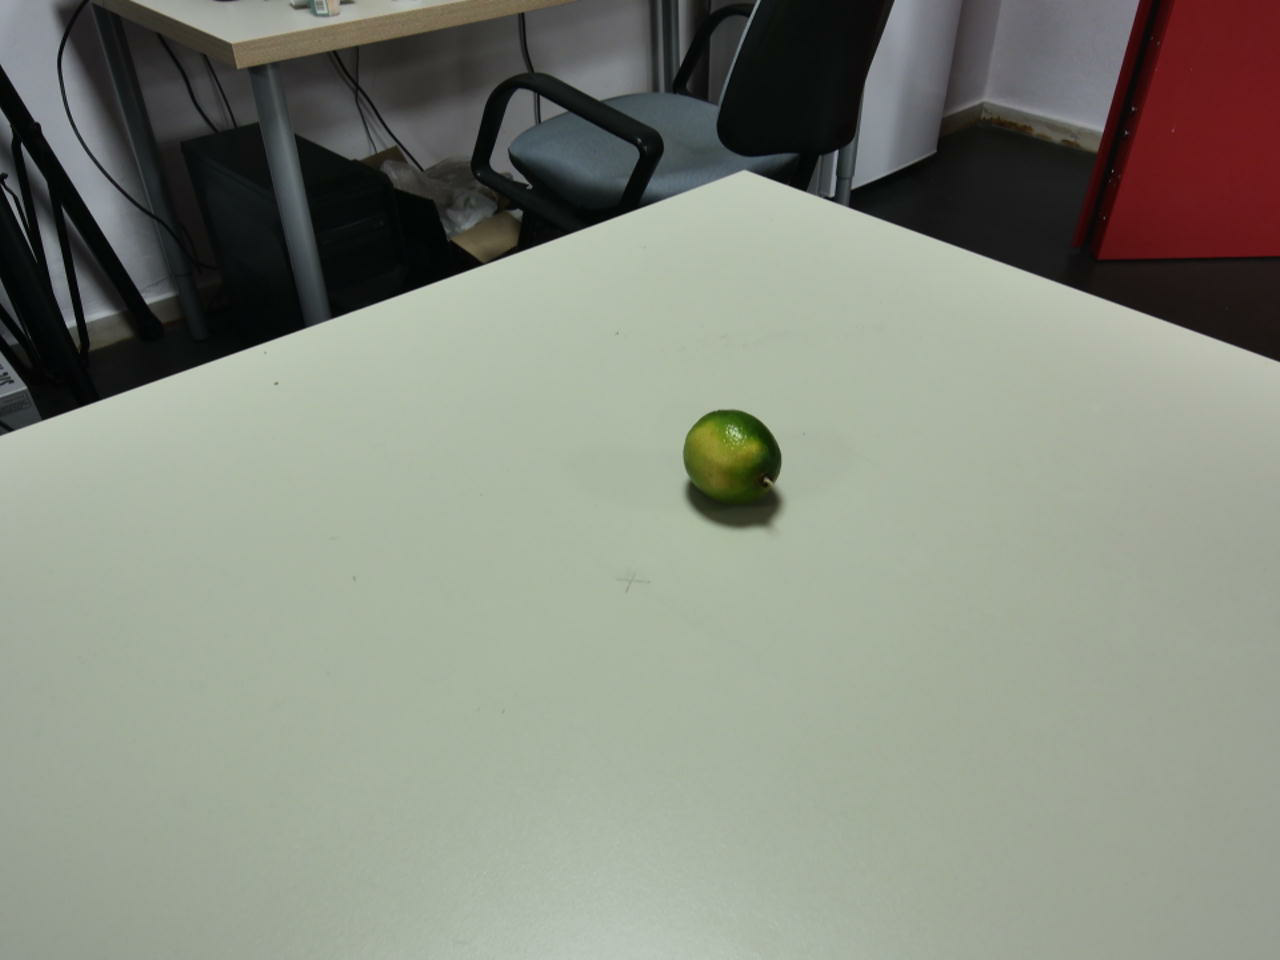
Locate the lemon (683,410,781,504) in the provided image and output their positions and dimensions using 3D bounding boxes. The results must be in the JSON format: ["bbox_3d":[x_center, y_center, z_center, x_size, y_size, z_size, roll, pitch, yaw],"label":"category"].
[{"bbox_3d":[0.051,-0.013,0.554,0.054,0.050,0.055,6,36,8],"label":"lemon"}]
